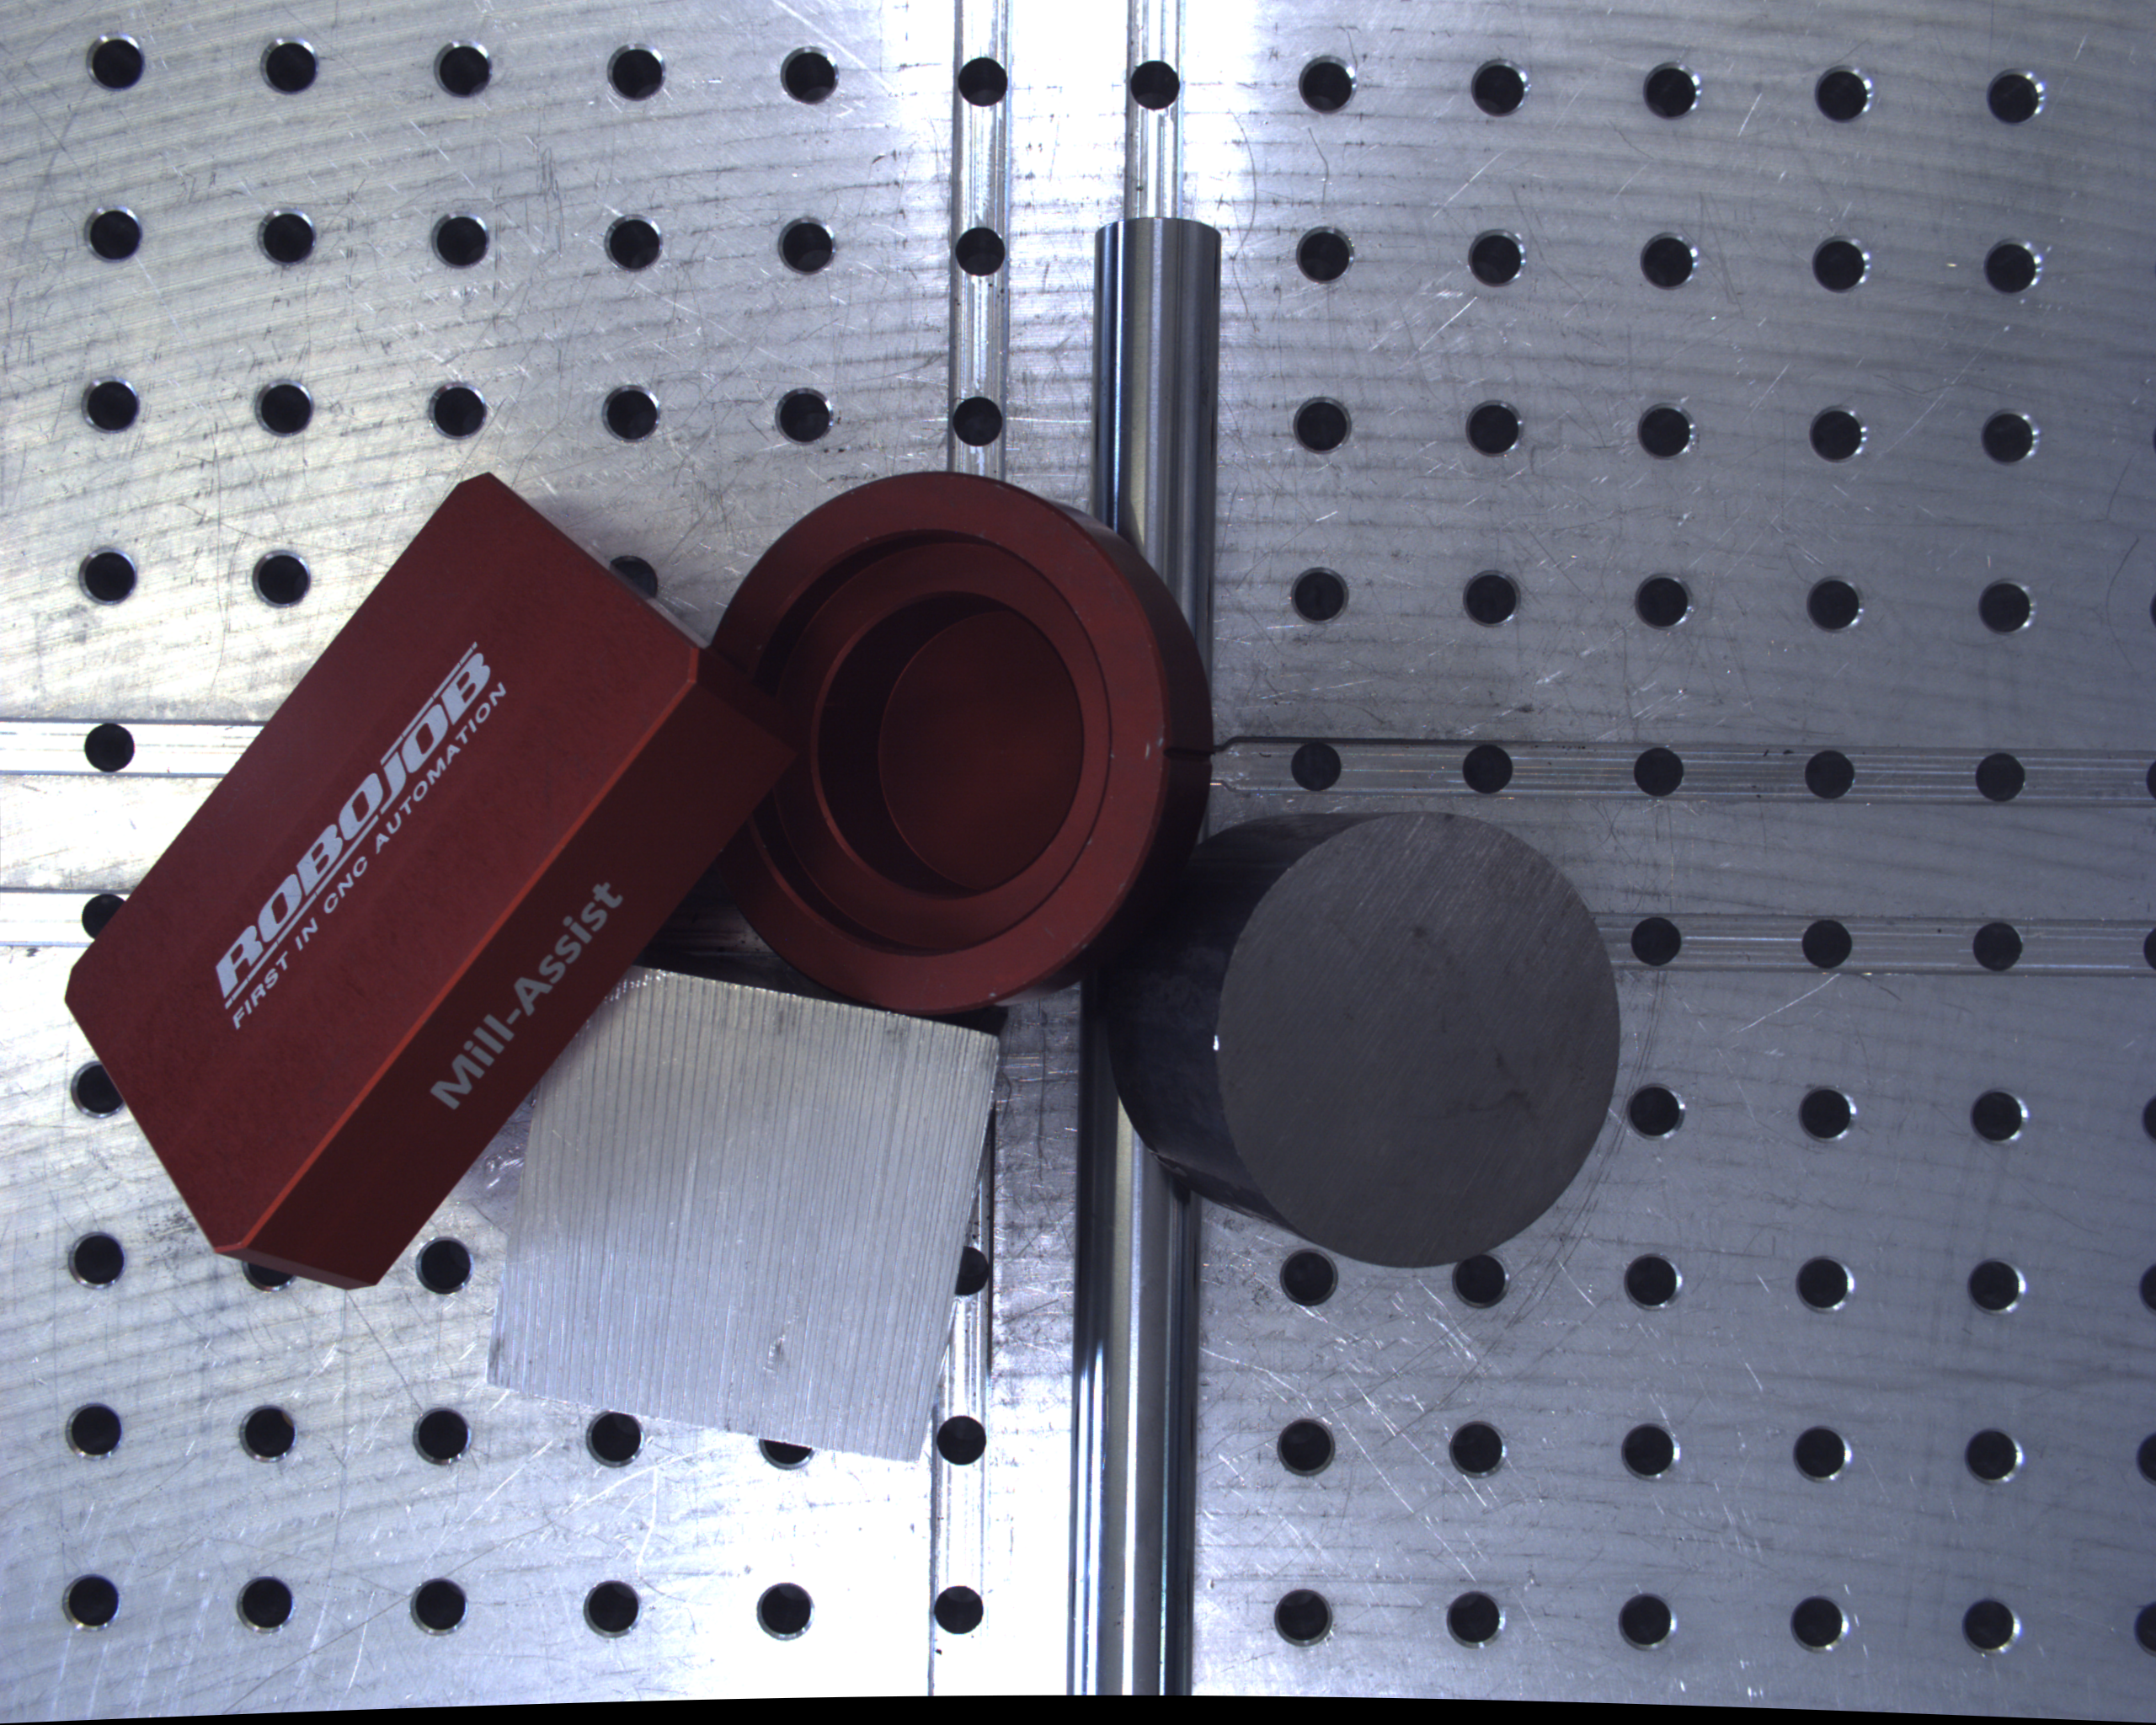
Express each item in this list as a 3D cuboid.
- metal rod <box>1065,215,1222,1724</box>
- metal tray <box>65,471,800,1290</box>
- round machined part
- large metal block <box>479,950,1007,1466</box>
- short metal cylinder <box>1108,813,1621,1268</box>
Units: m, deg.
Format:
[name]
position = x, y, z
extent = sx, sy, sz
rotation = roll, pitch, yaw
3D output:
[metal rod]
position = 0.013, 0.024, 0.414
extent = 0.025, 0.025, 0.298
rotation = 1, 90, 0
[metal tray]
position = -0.121, 0.001, 0.385
extent = 0.130, 0.030, 0.090
rotation = -52, 52, 0
[round machined part]
position = -0.020, -0.022, 0.392
extent = 0.098, 0.042, 0.097
rotation = 0, 89, 25
[large metal block]
position = -0.061, 0.062, 0.400
extent = 0.080, 0.050, 0.080
rotation = 10, 90, 0
[short metal cylinder]
position = 0.052, 0.031, 0.388
extent = 0.081, 0.050, 0.079
rotation = 0, 90, -20
